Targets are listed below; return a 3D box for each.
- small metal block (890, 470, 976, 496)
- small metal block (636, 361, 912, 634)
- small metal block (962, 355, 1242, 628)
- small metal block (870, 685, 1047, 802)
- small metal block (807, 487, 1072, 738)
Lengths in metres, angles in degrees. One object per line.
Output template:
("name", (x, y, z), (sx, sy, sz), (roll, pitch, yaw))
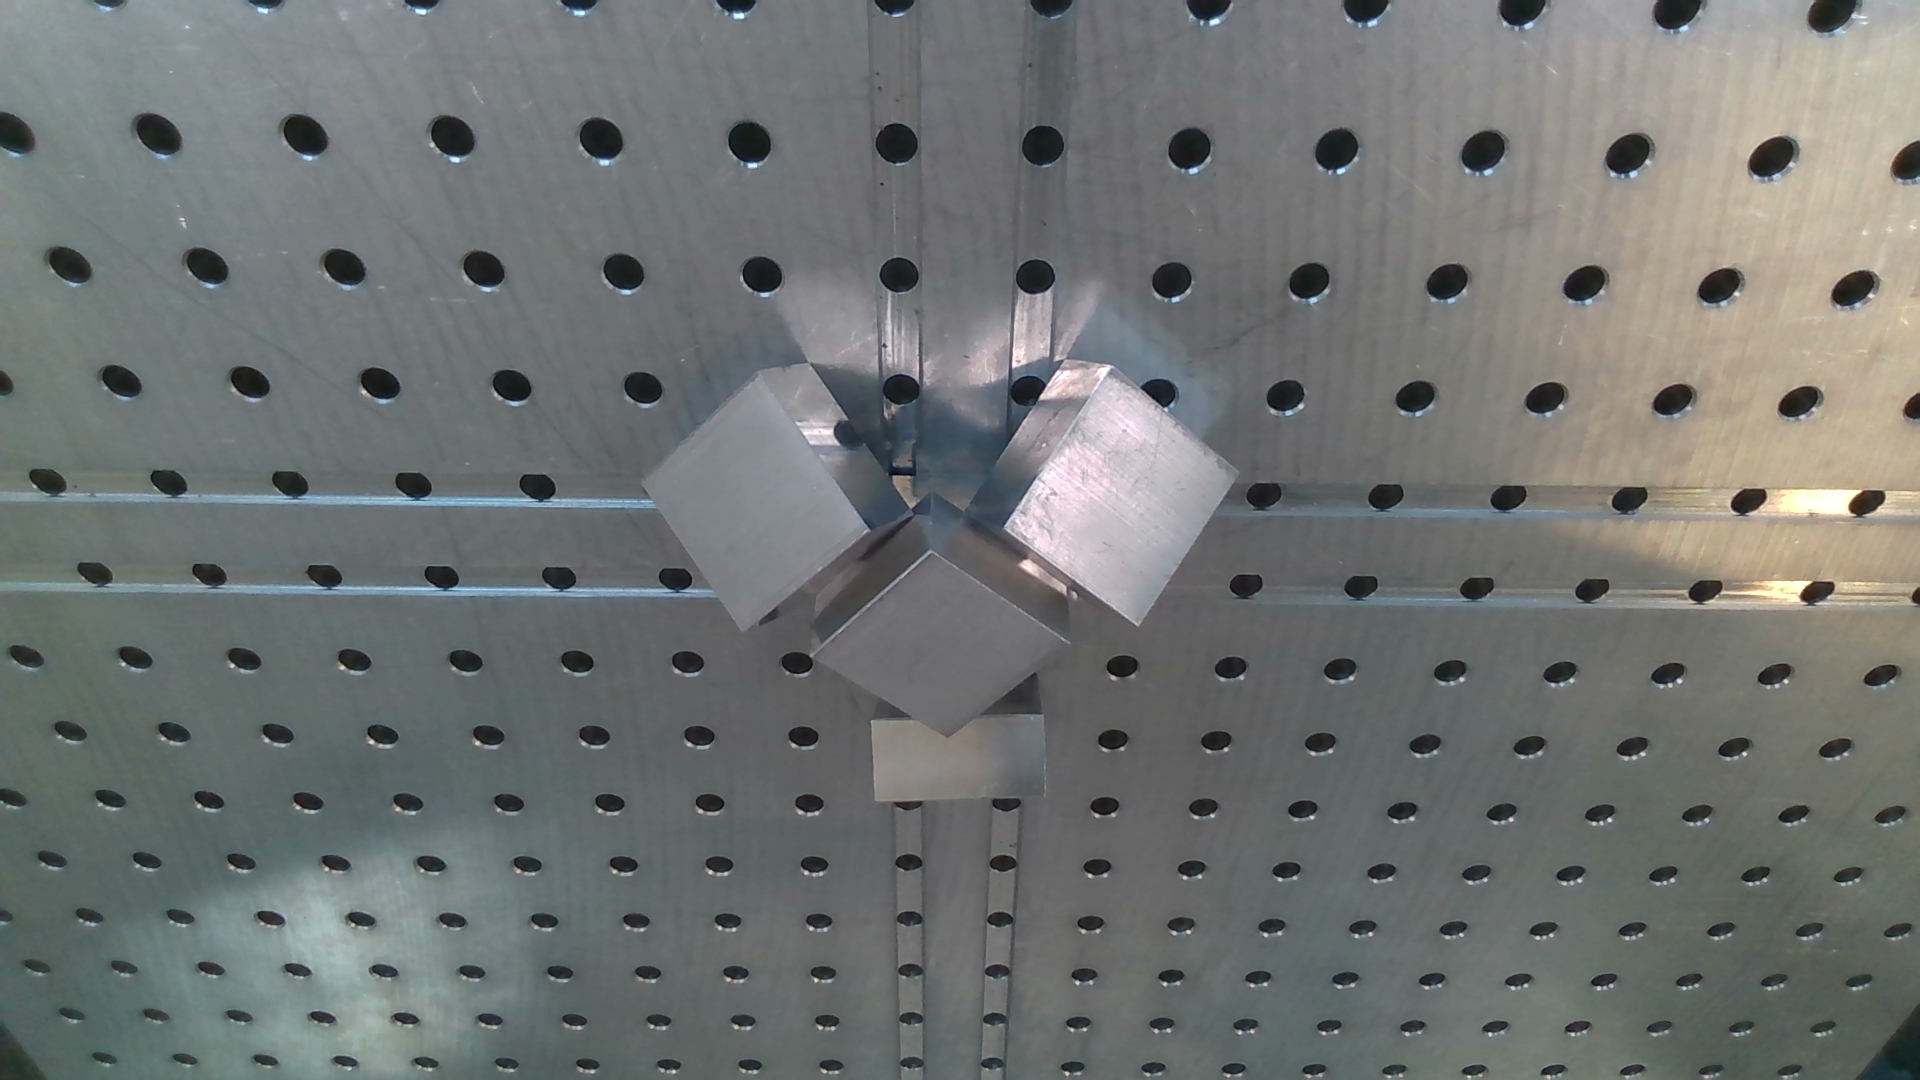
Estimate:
("small metal block", (-0.006, 0.008, 0.398), (0.050, 0.025, 0.050), (3, 130, 1))
("small metal block", (-0.049, -0.012, 0.364), (0.050, 0.025, 0.050), (-38, 84, 27))
("small metal block", (0.038, -0.013, 0.364), (0.050, 0.025, 0.050), (36, 86, -26))
("small metal block", (0.000, 0.060, 0.421), (0.050, 0.050, 0.025), (-2, 97, 2))
("small metal block", (-0.006, 0.021, 0.376), (0.050, 0.025, 0.050), (34, 123, -25))
